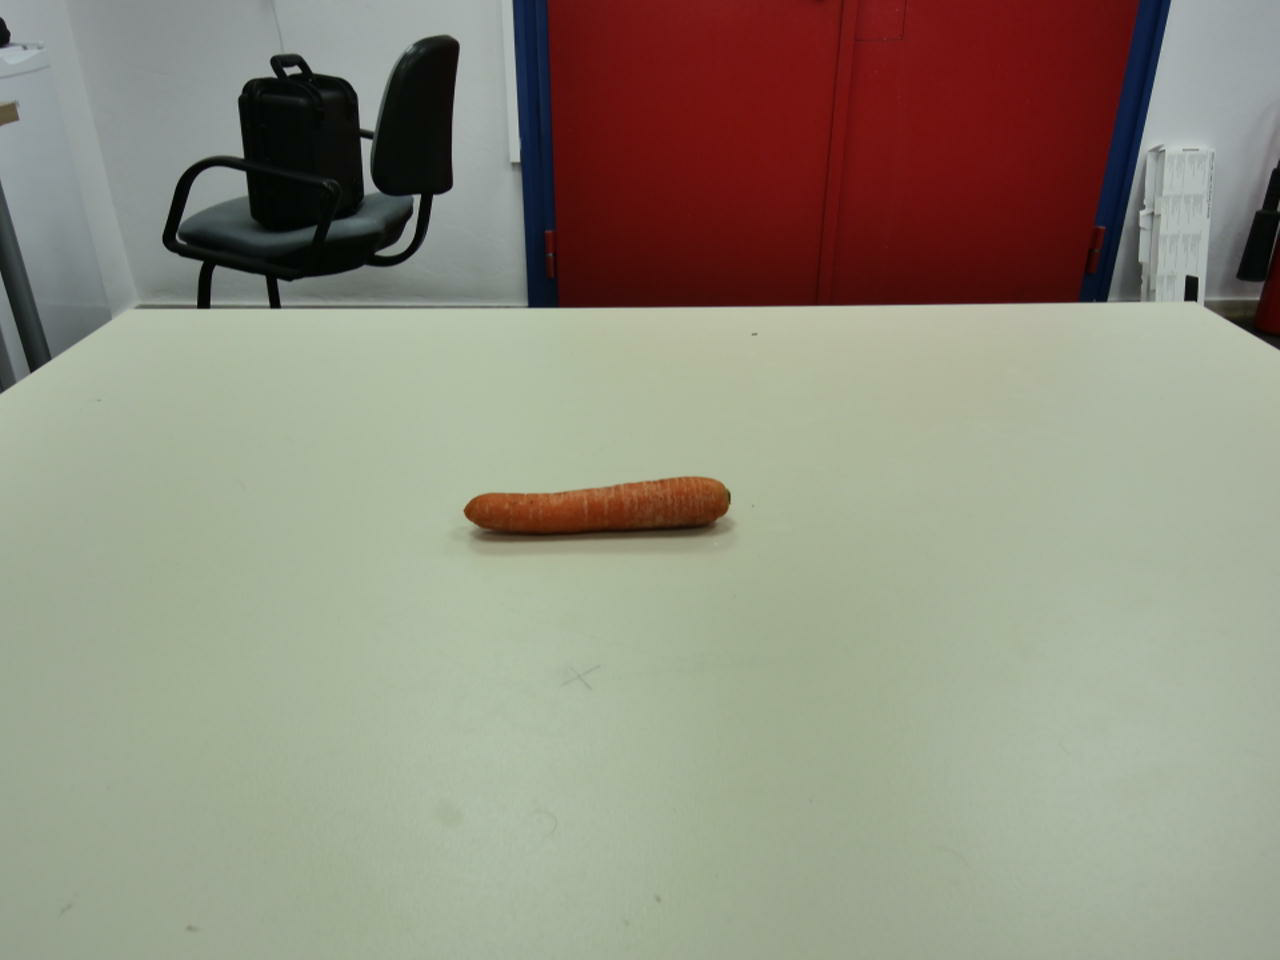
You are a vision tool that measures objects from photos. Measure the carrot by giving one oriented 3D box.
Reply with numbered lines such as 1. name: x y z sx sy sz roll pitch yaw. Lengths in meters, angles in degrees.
1. carrot: -0.019 0.011 0.458 0.122 0.023 0.024 -1 24 -3
